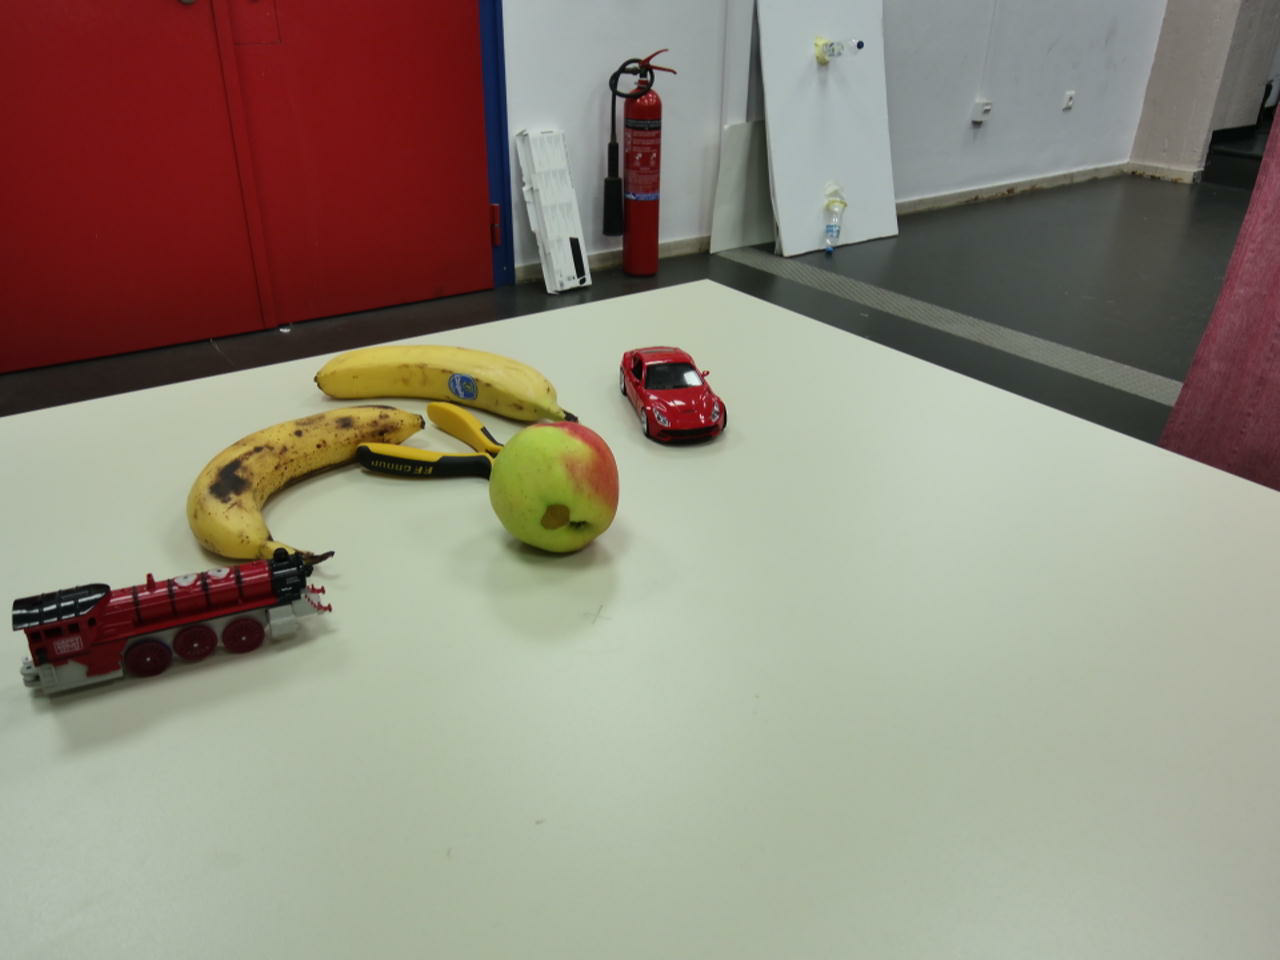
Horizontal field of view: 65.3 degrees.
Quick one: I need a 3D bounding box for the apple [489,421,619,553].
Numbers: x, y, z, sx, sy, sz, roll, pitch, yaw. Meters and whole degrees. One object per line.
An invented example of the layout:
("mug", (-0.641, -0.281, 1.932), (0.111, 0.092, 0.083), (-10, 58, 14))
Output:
("apple", (-0.048, 0.003, 0.578), (0.075, 0.074, 0.075), (18, 30, 30))
